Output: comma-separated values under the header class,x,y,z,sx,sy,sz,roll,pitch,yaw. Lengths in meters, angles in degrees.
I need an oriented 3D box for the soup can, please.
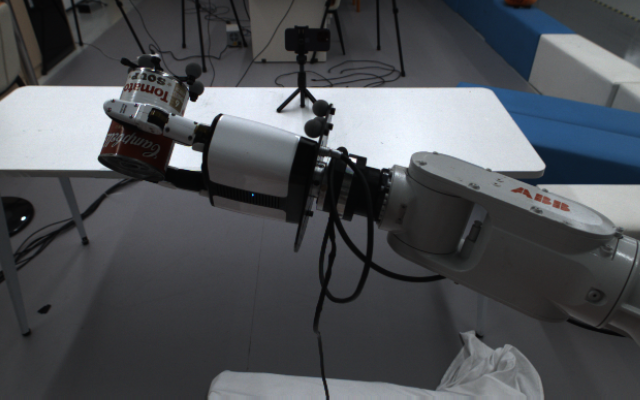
class,x,y,z,sx,sy,sz,roll,pitch,yaw
soup can,-0.184,-0.078,0.515,0.067,0.067,0.101,8,73,9
